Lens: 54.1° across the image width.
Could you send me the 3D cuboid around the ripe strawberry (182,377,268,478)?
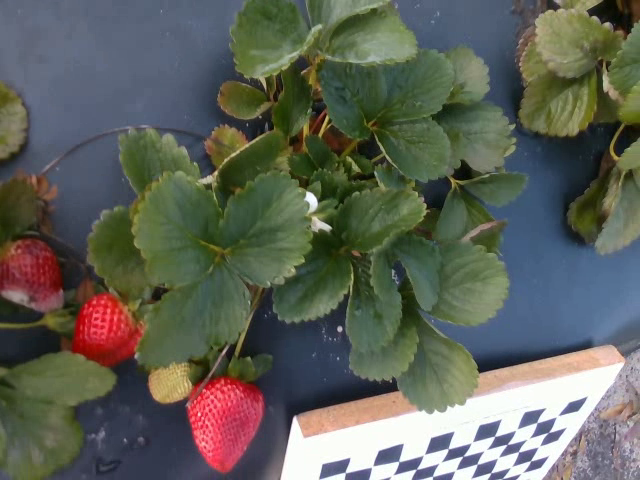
[{"bbox_3d":[-0.026,0.054,0.173,0.022,0.030,0.025,-1,-38,9],"label":"ripe strawberry"}]
